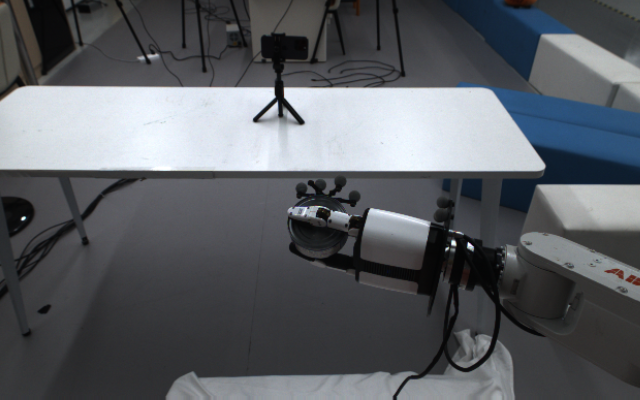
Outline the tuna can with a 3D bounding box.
[{"bbox_3d":[-0.001,0.037,0.681,0.085,0.034,0.085,-2,58,3],"label":"tuna can"}]
